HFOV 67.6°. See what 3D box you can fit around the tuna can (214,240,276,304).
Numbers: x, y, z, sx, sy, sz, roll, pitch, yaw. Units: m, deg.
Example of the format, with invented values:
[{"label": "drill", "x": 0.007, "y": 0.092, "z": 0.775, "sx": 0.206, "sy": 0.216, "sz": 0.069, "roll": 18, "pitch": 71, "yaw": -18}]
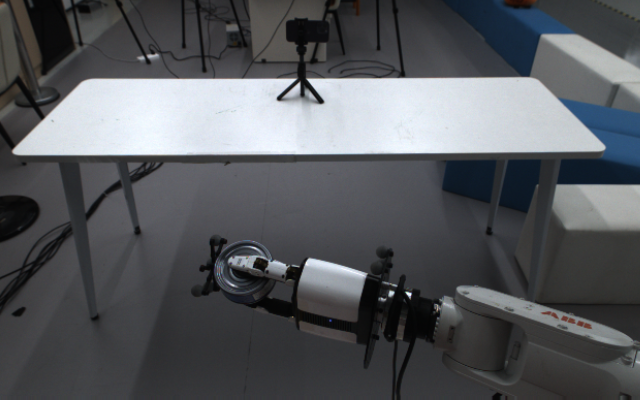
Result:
[{"label": "tuna can", "x": -0.102, "y": 0.100, "z": 0.681, "sx": 0.085, "sy": 0.034, "sz": 0.085, "roll": -2, "pitch": 58, "yaw": 3}]
